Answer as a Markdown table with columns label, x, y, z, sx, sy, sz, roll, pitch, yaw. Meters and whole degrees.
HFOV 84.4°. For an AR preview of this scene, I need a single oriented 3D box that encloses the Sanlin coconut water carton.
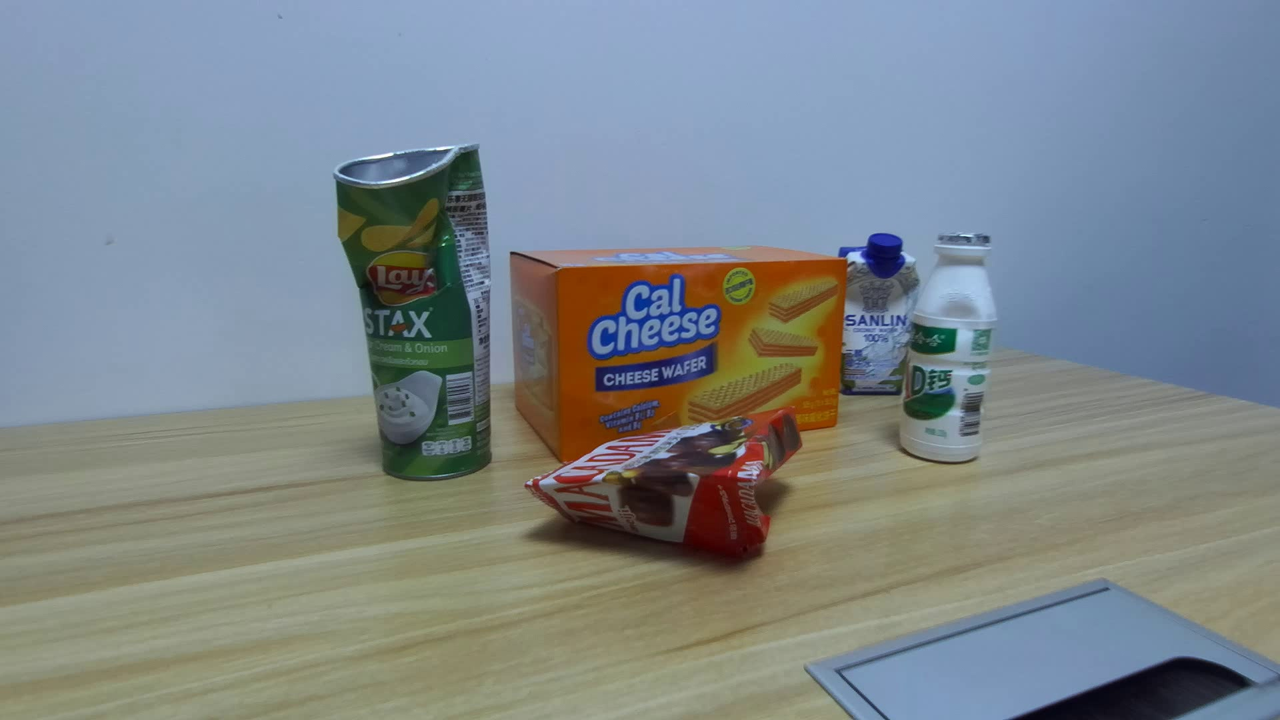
| label | x | y | z | sx | sy | sz | roll | pitch | yaw |
| --- | --- | --- | --- | --- | --- | --- | --- | --- | --- |
| Sanlin coconut water carton | 0.203 | -0.040 | 0.621 | 0.078 | 0.142 | 0.057 | 0 | 19 | -1 |

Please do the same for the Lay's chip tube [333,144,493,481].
| label | x | y | z | sx | sy | sz | roll | pitch | yaw |
| --- | --- | --- | --- | --- | --- | --- | --- | --- | --- |
| Lay's chip tube | -0.130 | -0.026 | 0.427 | 0.079 | 0.199 | 0.071 | -2 | 22 | -6 |

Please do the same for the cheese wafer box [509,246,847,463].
| label | x | y | z | sx | sy | sz | roll | pitch | yaw |
| --- | --- | --- | --- | --- | --- | --- | --- | --- | --- |
| cheese wafer box | 0.025 | -0.017 | 0.542 | 0.223 | 0.129 | 0.147 | -4 | 14 | -22 |

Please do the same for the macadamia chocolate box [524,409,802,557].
| label | x | y | z | sx | sy | sz | roll | pitch | yaw |
| --- | --- | --- | --- | --- | --- | --- | --- | --- | --- |
| macadamia chocolate box | 0.020 | 0.057 | 0.374 | 0.112 | 0.056 | 0.127 | 6 | 13 | 22 |

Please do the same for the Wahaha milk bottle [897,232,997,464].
| label | x | y | z | sx | sy | sz | roll | pitch | yaw |
| --- | --- | --- | --- | --- | --- | --- | --- | --- | --- |
| Wahaha milk bottle | 0.204 | -0.002 | 0.465 | 0.053 | 0.136 | 0.053 | 2 | 11 | 0 |
